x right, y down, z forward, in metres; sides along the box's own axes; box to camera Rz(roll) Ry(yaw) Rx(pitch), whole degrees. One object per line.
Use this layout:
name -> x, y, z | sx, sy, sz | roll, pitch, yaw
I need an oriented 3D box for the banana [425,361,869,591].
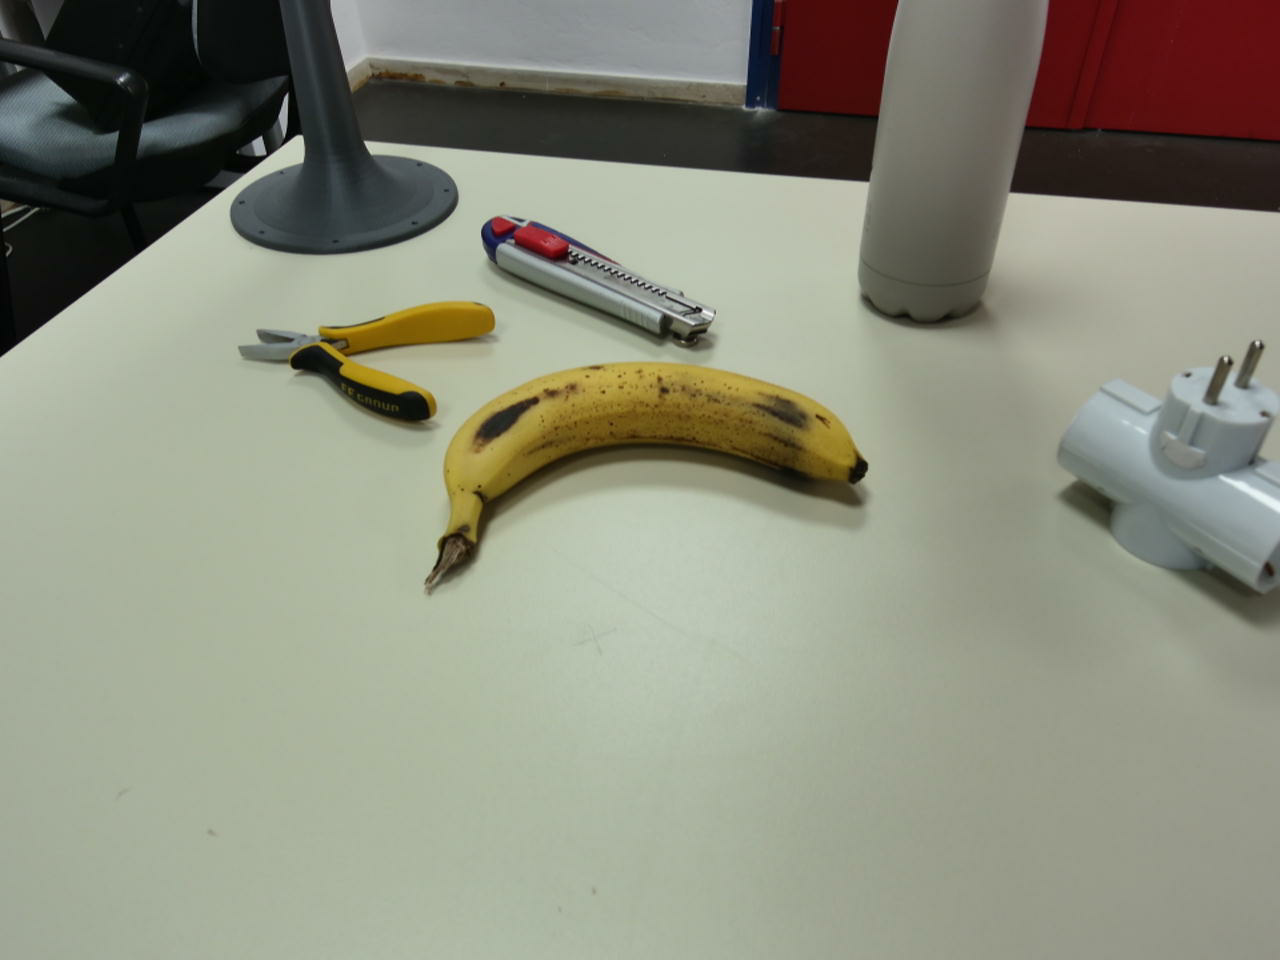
banana -> -0.003, -0.017, 0.445 | 0.186, 0.038, 0.097 | -9, 39, -11
